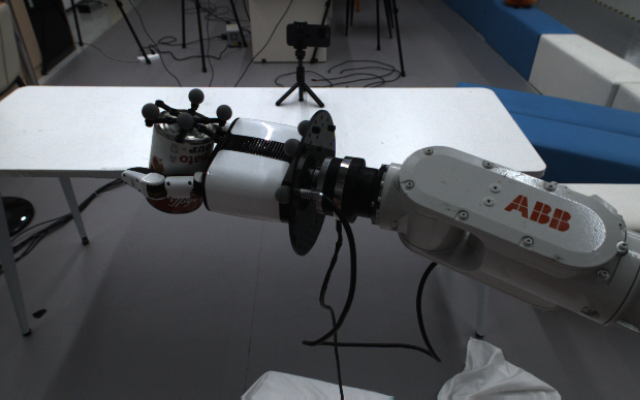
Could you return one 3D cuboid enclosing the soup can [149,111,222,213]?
[{"bbox_3d":[-0.159,-0.042,0.552,0.067,0.101,0.067,14,35,-10],"label":"soup can"}]
